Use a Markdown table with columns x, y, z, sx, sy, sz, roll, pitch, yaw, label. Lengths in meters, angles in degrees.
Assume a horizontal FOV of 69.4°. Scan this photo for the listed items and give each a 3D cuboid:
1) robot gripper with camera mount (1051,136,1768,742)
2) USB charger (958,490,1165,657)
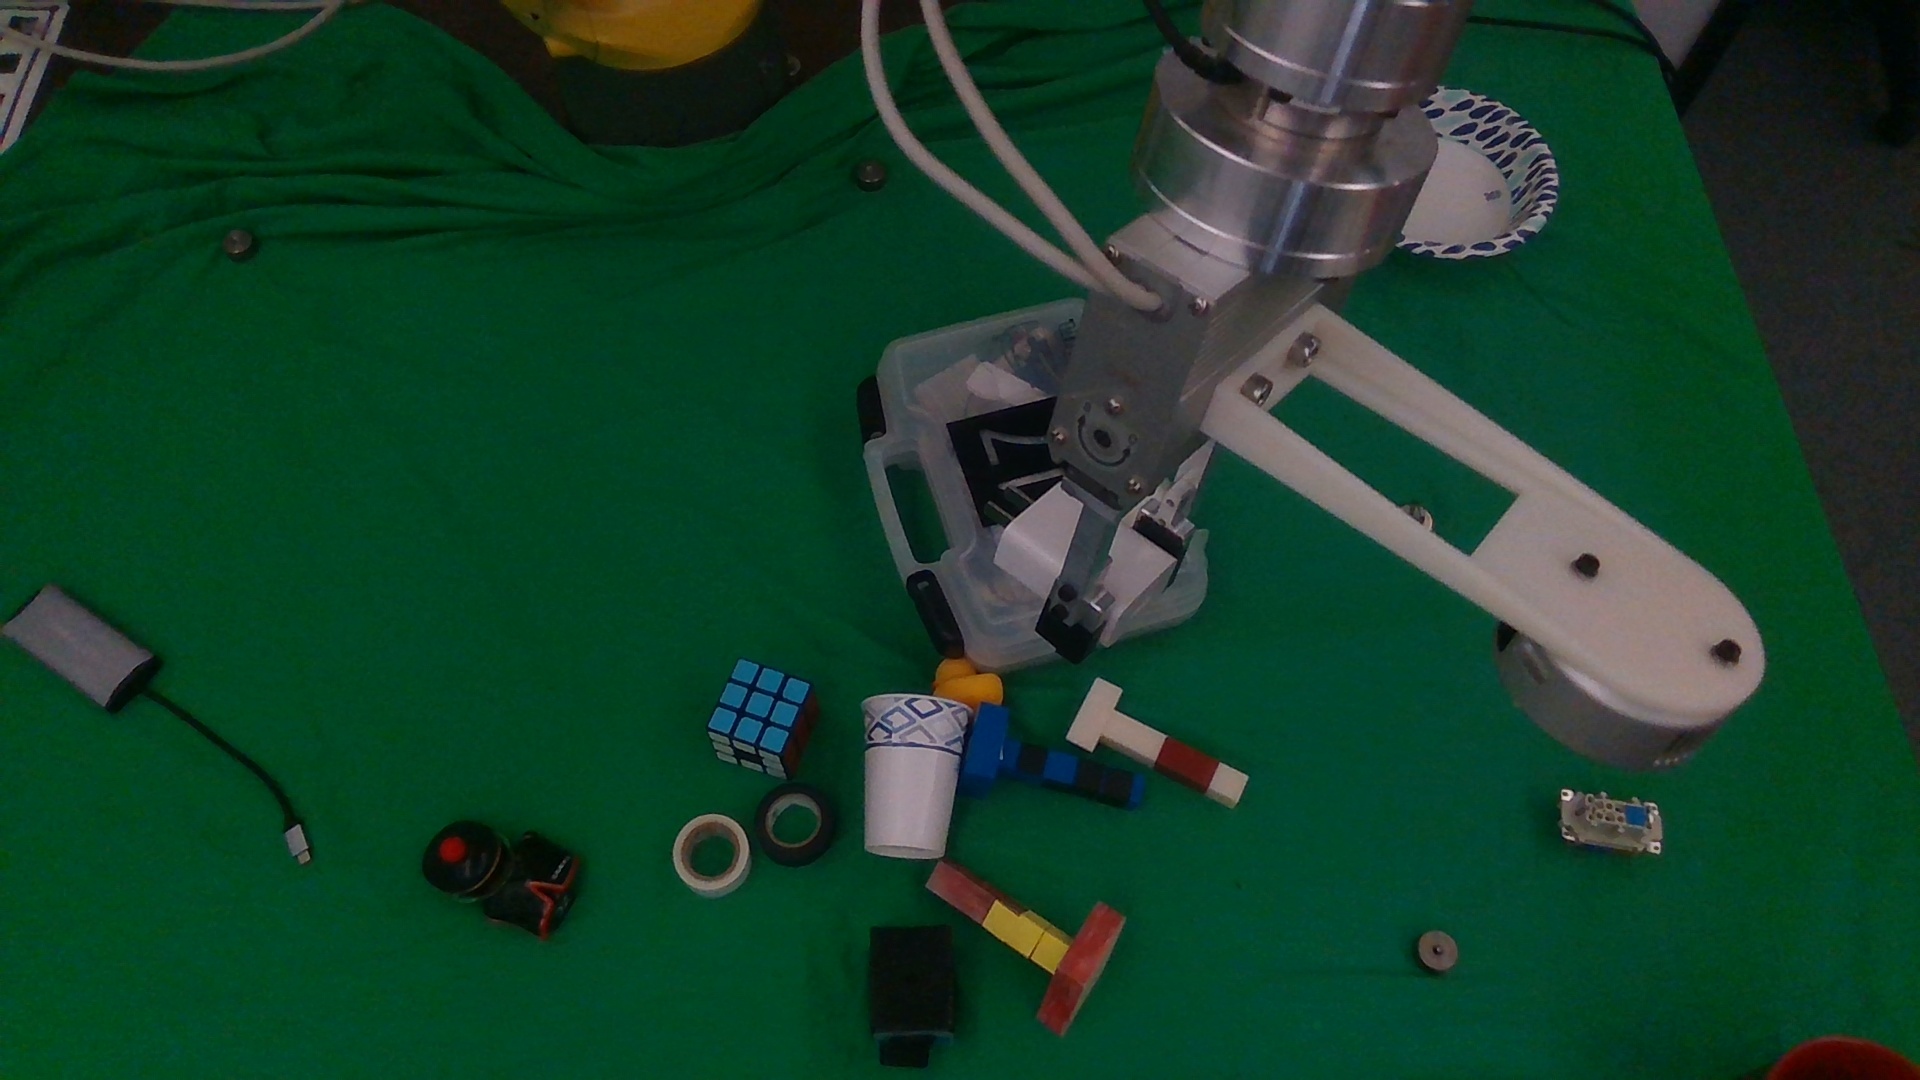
| x | y | z | sx | sy | sz | roll | pitch | yaw | label |
| --- | --- | --- | --- | --- | --- | --- | --- | --- | --- |
| 0.132 | 0.004 | 0.425 | 0.194 | 0.158 | 0.118 | 33 | 47 | 21 | robot gripper with camera mount |
| 0.033 | 0.007 | 0.501 | 0.076 | 0.029 | 0.044 | 33 | 48 | 20 | USB charger |
